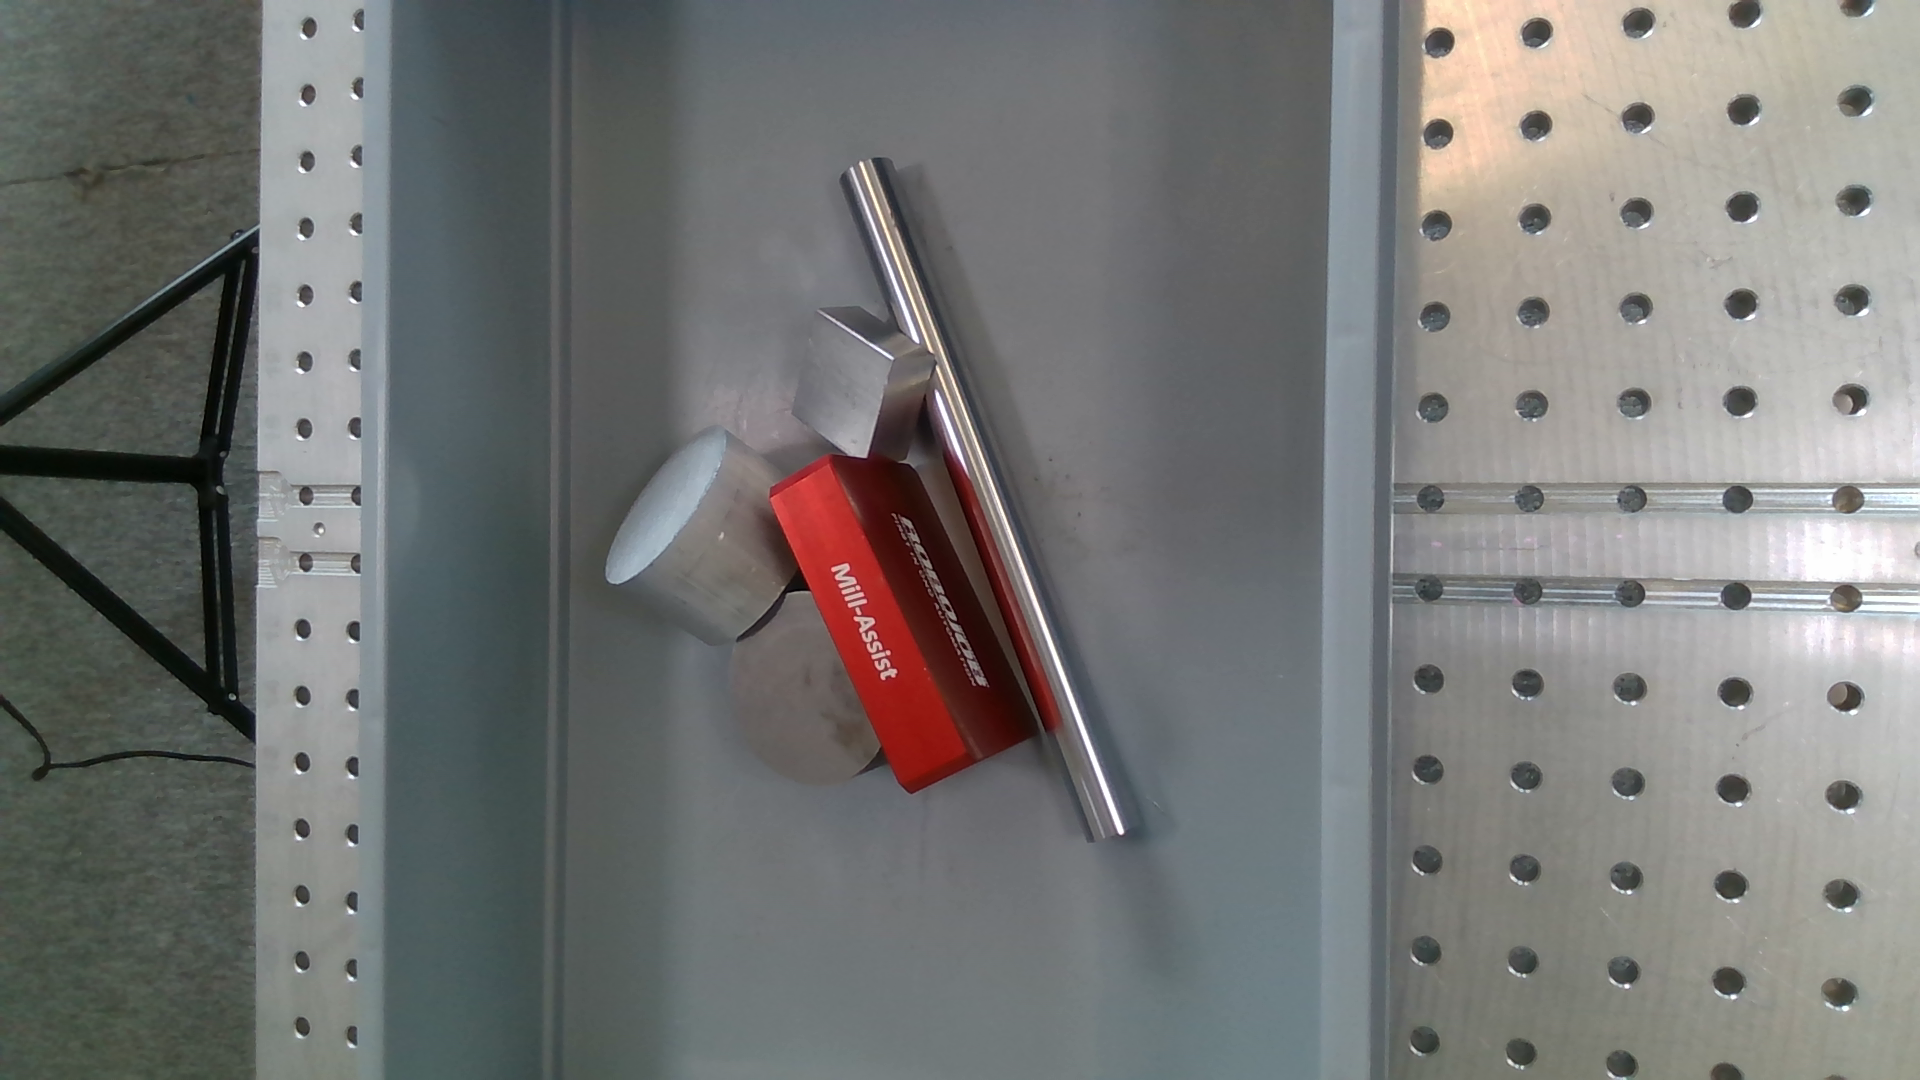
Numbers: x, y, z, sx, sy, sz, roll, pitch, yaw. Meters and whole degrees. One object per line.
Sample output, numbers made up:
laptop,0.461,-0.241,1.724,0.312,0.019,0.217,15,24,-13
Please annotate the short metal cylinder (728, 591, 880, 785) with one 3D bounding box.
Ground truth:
short metal cylinder,-0.051,0.059,0.585,0.080,0.050,0.080,3,96,28

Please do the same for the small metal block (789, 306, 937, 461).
small metal block,-0.042,-0.067,0.586,0.050,0.025,0.050,36,122,32

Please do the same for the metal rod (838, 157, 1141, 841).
metal rod,0.011,-0.021,0.580,0.025,0.025,0.300,-23,83,19

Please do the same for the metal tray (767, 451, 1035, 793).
metal tray,-0.021,0.030,0.558,0.030,0.090,0.130,-28,81,18

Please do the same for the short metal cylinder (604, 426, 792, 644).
short metal cylinder,-0.106,-0.002,0.587,0.050,0.080,0.080,38,107,-26
